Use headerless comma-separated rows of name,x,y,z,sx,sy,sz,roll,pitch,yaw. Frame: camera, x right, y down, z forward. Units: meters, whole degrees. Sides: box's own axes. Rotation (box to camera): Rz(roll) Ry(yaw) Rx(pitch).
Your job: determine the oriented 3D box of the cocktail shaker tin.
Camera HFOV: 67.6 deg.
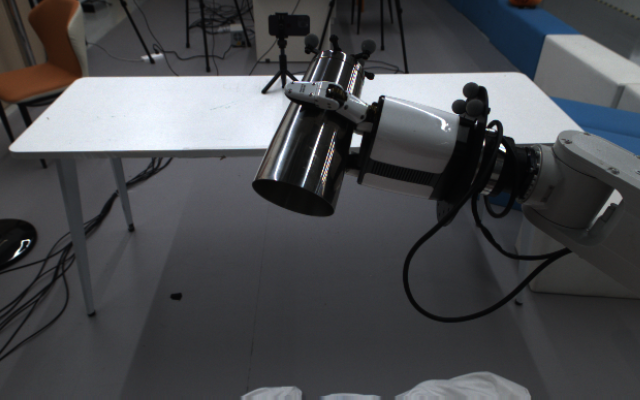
cocktail shaker tin,-0.003,-0.078,0.538,0.093,0.093,0.170,13,71,15
